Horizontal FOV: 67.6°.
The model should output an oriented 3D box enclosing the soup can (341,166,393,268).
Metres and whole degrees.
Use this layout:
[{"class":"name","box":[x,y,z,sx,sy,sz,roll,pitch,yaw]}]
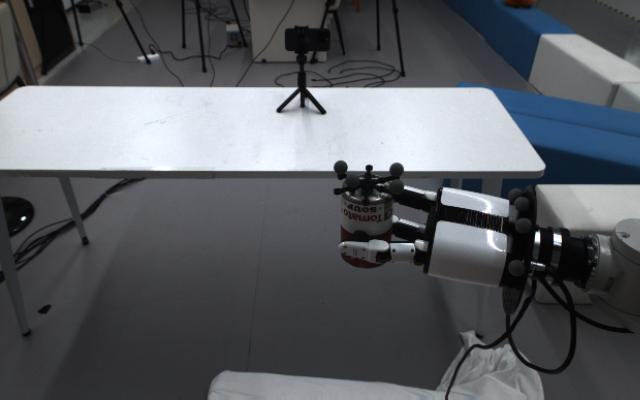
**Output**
[{"class":"soup can","box":[0.062,0.025,0.619,0.067,0.101,0.067,-2,34,1]}]
